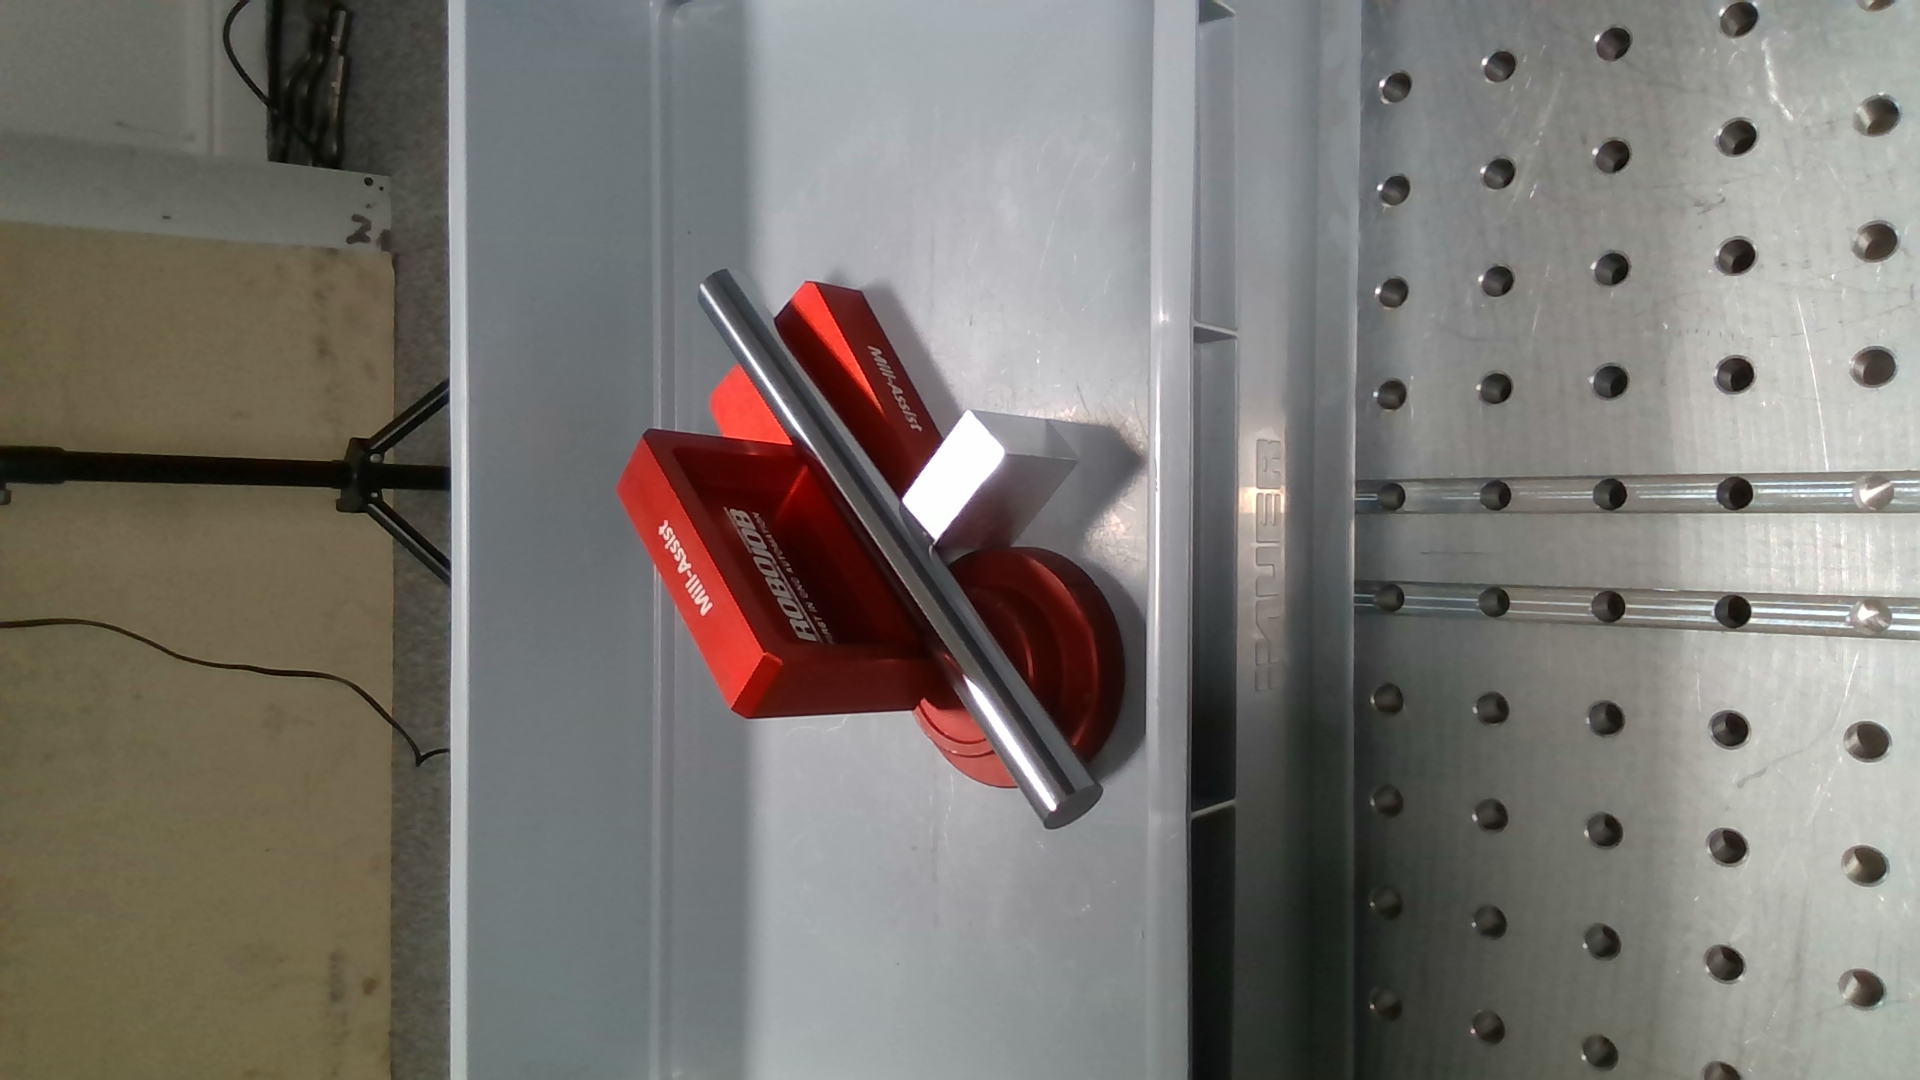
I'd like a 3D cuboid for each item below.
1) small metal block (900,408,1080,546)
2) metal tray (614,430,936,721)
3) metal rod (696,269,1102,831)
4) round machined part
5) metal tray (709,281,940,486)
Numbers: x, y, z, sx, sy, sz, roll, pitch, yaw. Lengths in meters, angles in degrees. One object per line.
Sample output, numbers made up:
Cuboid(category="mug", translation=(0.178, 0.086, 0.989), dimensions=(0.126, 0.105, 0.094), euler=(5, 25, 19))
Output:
Cuboid(category="small metal block", translation=(0.012, -0.024, 0.554), dimensions=(0.050, 0.050, 0.025), euler=(-52, 59, 28))
Cuboid(category="metal tray", translation=(-0.072, 0.012, 0.549), dimensions=(0.030, 0.090, 0.130), euler=(-56, 51, 28))
Cuboid(category="metal rod", translation=(-0.035, -0.010, 0.559), dimensions=(0.025, 0.025, 0.299), euler=(-53, 55, 27))
Cuboid(category="round machined part", translation=(0.014, 0.052, 0.557), dimensions=(0.098, 0.042, 0.098), euler=(0, 91, 40))
Cuboid(category="metal tray", translation=(-0.057, -0.040, 0.625), dimensions=(0.090, 0.030, 0.130), euler=(-43, 64, 32))
